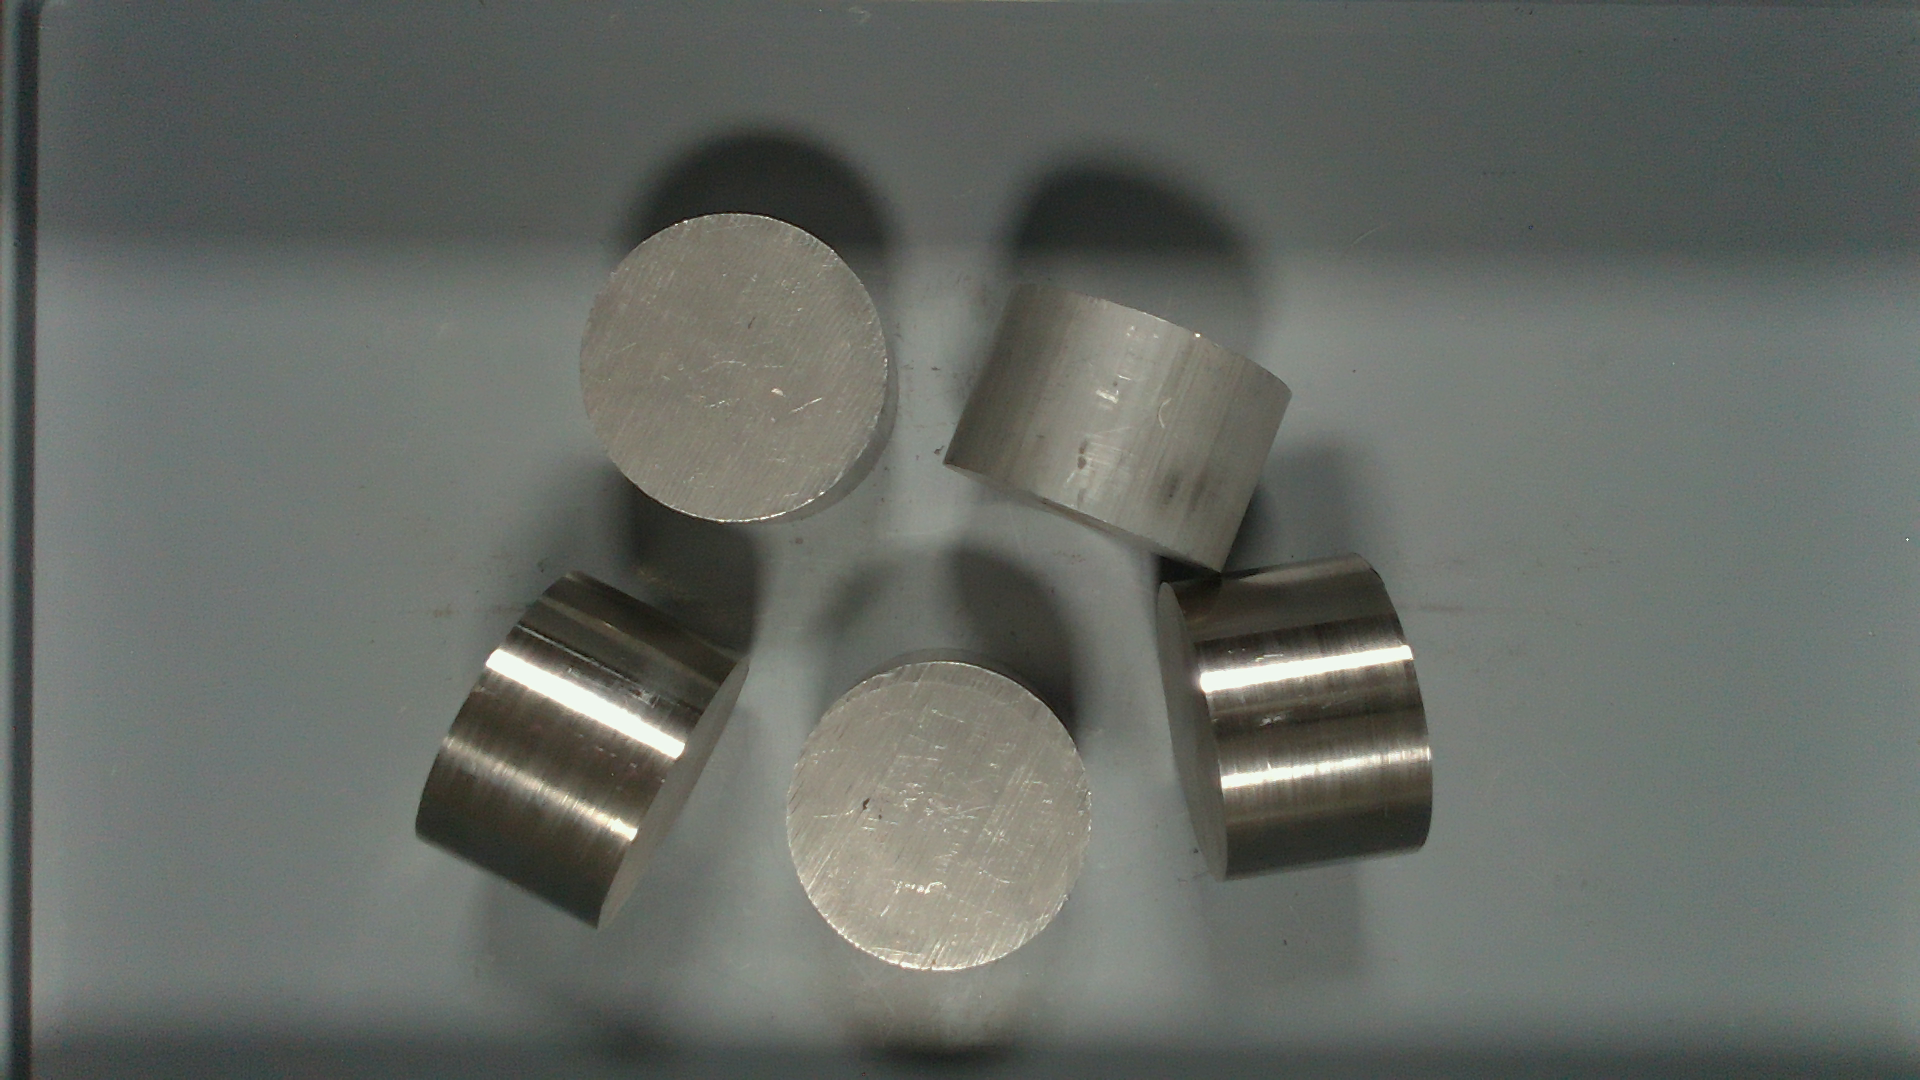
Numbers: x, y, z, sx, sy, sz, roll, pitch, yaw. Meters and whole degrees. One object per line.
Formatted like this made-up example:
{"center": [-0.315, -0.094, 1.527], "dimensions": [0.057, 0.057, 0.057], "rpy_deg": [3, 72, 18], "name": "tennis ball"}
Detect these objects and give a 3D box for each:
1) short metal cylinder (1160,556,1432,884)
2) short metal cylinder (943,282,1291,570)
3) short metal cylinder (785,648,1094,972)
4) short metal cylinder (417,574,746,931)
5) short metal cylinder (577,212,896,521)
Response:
{"center": [0.086, 0.047, 0.367], "dimensions": [0.050, 0.080, 0.080], "rpy_deg": [-9, 90, 0], "name": "short metal cylinder"}
{"center": [0.042, -0.029, 0.368], "dimensions": [0.080, 0.080, 0.050], "rpy_deg": [22, 90, 0], "name": "short metal cylinder"}
{"center": [-0.005, 0.072, 0.382], "dimensions": [0.080, 0.050, 0.080], "rpy_deg": [0, 90, 0], "name": "short metal cylinder"}
{"center": [-0.098, 0.056, 0.366], "dimensions": [0.050, 0.080, 0.080], "rpy_deg": [27, 90, 0], "name": "short metal cylinder"}
{"center": [-0.059, -0.045, 0.381], "dimensions": [0.080, 0.050, 0.080], "rpy_deg": [0, 90, 0], "name": "short metal cylinder"}
